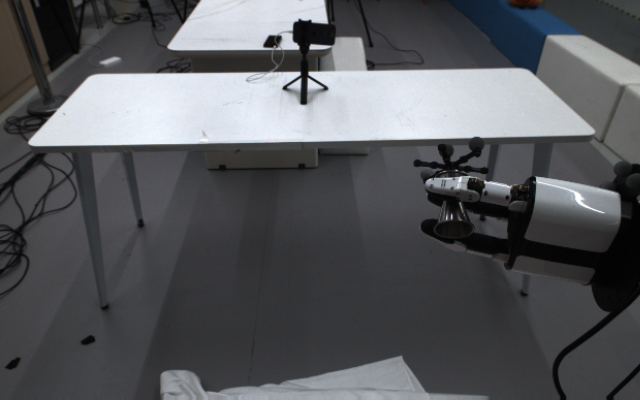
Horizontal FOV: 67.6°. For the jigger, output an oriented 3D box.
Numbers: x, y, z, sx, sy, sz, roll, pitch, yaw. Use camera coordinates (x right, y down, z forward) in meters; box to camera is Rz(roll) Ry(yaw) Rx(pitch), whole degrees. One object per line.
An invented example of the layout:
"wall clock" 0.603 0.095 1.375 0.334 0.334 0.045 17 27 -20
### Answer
"jigger" 0.150 0.003 0.557 0.043 0.043 0.071 5 60 4
